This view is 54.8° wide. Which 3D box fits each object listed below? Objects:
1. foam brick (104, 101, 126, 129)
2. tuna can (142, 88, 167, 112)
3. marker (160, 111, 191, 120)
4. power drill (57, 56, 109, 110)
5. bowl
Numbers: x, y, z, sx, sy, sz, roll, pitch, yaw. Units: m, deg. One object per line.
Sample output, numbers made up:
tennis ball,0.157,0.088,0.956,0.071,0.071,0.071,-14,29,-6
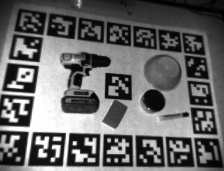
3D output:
foam brick,0.013,0.102,0.740,0.051,0.052,0.078,27,69,-3
tuna can,0.155,0.053,0.791,0.086,0.033,0.085,5,70,-13
marker,0.238,0.109,0.798,0.122,0.019,0.019,-6,74,-15
power drill,-0.099,-0.012,0.748,0.186,0.057,0.186,3,68,-15
bowl,0.203,-0.066,0.843,0.162,0.055,0.161,4,64,-8
